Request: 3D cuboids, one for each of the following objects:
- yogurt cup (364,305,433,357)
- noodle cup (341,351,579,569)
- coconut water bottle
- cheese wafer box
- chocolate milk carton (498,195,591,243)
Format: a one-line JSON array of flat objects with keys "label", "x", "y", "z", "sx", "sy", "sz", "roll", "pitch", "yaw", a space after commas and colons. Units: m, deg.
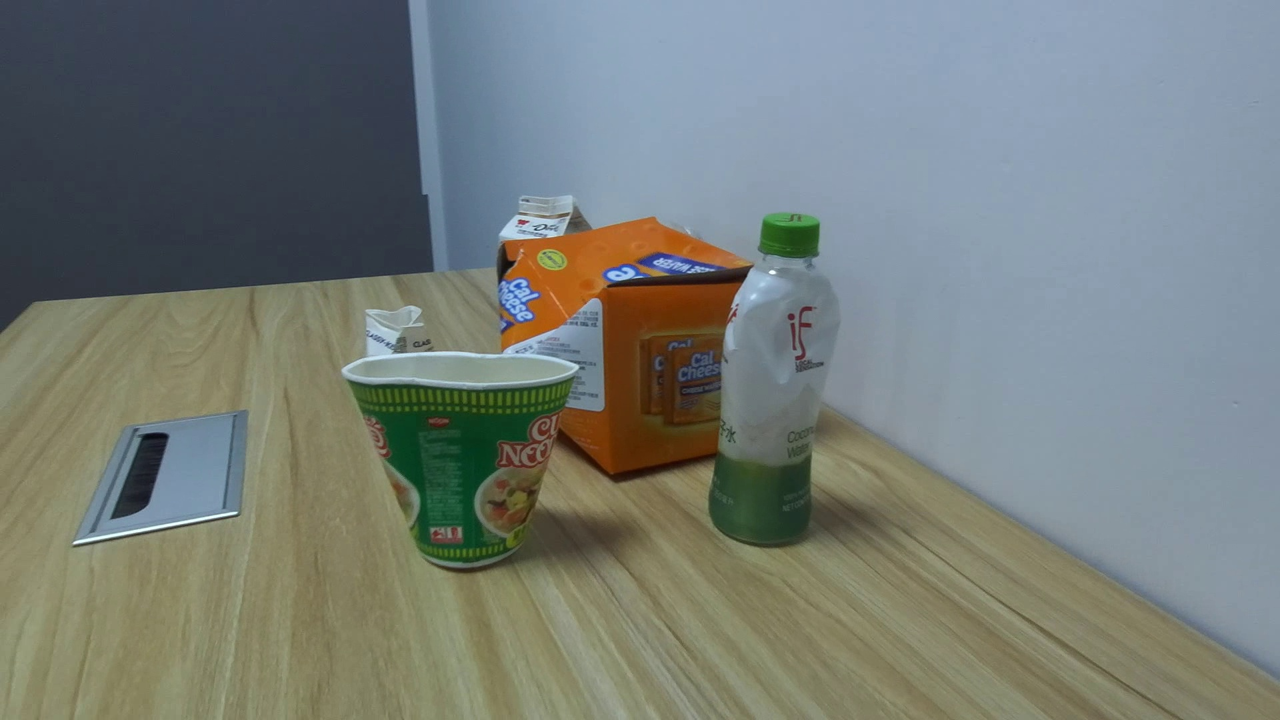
[{"label": "yogurt cup", "x": -0.200, "y": -0.004, "z": 0.592, "sx": 0.055, "sy": 0.072, "sz": 0.054, "roll": -4, "pitch": 23, "yaw": -18}, {"label": "noodle cup", "x": -0.098, "y": 0.052, "z": 0.398, "sx": 0.115, "sy": 0.111, "sz": 0.070, "roll": 9, "pitch": 24, "yaw": 17}, {"label": "coconut water bottle", "x": 0.077, "y": 0.012, "z": 0.407, "sx": 0.067, "sy": 0.187, "sz": 0.067, "roll": 2, "pitch": 21, "yaw": 0}, {"label": "cheese wafer box", "x": -0.017, "y": -0.027, "z": 0.564, "sx": 0.192, "sy": 0.145, "sz": 0.218, "roll": -9, "pitch": 24, "yaw": -28}, {"label": "chocolate milk carton", "x": -0.093, "y": -0.099, "z": 0.733, "sx": 0.075, "sy": 0.148, "sz": 0.074, "roll": 14, "pitch": 28, "yaw": 26}]
